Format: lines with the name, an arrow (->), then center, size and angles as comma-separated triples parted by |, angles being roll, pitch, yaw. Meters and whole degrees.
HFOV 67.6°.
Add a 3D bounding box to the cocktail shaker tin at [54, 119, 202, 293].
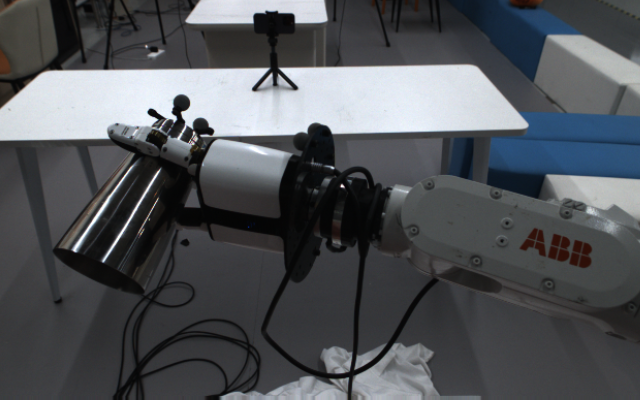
cocktail shaker tin -> -0.182, -0.001, 0.501 | 0.093, 0.093, 0.170 | 13, 59, 15
